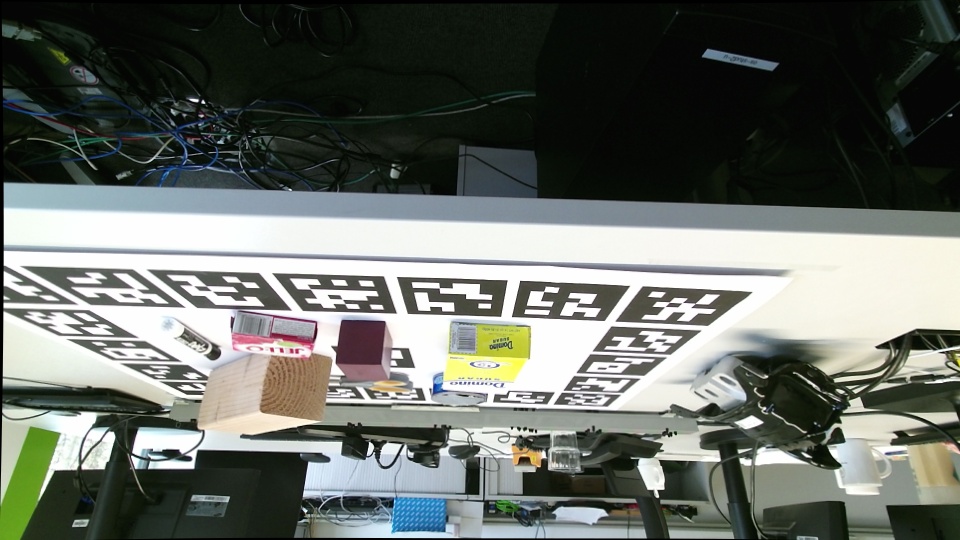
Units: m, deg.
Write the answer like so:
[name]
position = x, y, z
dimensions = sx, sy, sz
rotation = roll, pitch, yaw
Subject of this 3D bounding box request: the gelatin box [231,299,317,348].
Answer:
[gelatin box]
position = -0.241, 0.062, 0.628
dimensions = 0.090, 0.030, 0.073
rotation = 11, 149, -18

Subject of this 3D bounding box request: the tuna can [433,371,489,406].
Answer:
[tuna can]
position = -0.029, 0.183, 0.831
dimensions = 0.086, 0.033, 0.086
rotation = 0, 150, 0

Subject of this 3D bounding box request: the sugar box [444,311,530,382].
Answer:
[sugar box]
position = 0.003, 0.103, 0.683
dimensions = 0.093, 0.045, 0.176
rotation = 4, 151, -5

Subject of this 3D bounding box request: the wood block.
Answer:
[wood block]
position = -0.319, 0.168, 0.767
dimensions = 0.206, 0.090, 0.090
rotation = -24, 143, 39

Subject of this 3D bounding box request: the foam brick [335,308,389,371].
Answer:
[foam brick]
position = -0.138, 0.082, 0.631
dimensions = 0.053, 0.051, 0.078
rotation = 2, 150, -3

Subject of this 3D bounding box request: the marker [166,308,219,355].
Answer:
[marker]
position = -0.352, 0.076, 0.662
dimensions = 0.020, 0.019, 0.121
rotation = 2, 149, -2

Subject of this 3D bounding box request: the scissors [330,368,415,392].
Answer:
[scissors]
position = -0.203, 0.172, 0.841
dimensions = 0.204, 0.016, 0.088
rotation = 3, 151, -9
